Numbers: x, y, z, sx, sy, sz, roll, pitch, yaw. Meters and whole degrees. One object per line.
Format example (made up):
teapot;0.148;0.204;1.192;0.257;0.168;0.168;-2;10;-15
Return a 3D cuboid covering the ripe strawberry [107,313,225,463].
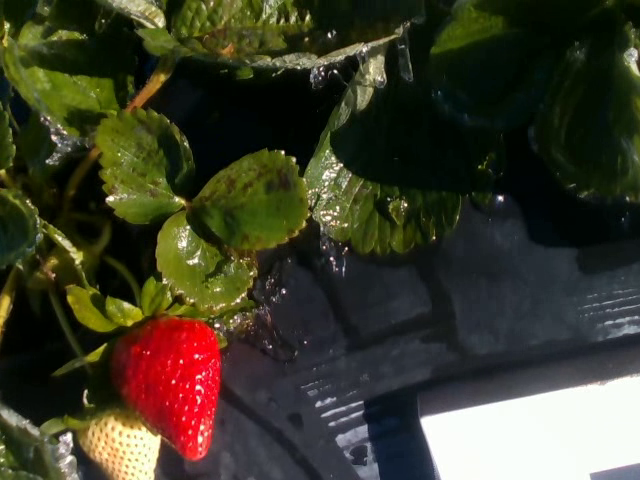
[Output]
ripe strawberry;-0.053;0.061;0.251;0.042;0.061;0.046;-29;-25;18
